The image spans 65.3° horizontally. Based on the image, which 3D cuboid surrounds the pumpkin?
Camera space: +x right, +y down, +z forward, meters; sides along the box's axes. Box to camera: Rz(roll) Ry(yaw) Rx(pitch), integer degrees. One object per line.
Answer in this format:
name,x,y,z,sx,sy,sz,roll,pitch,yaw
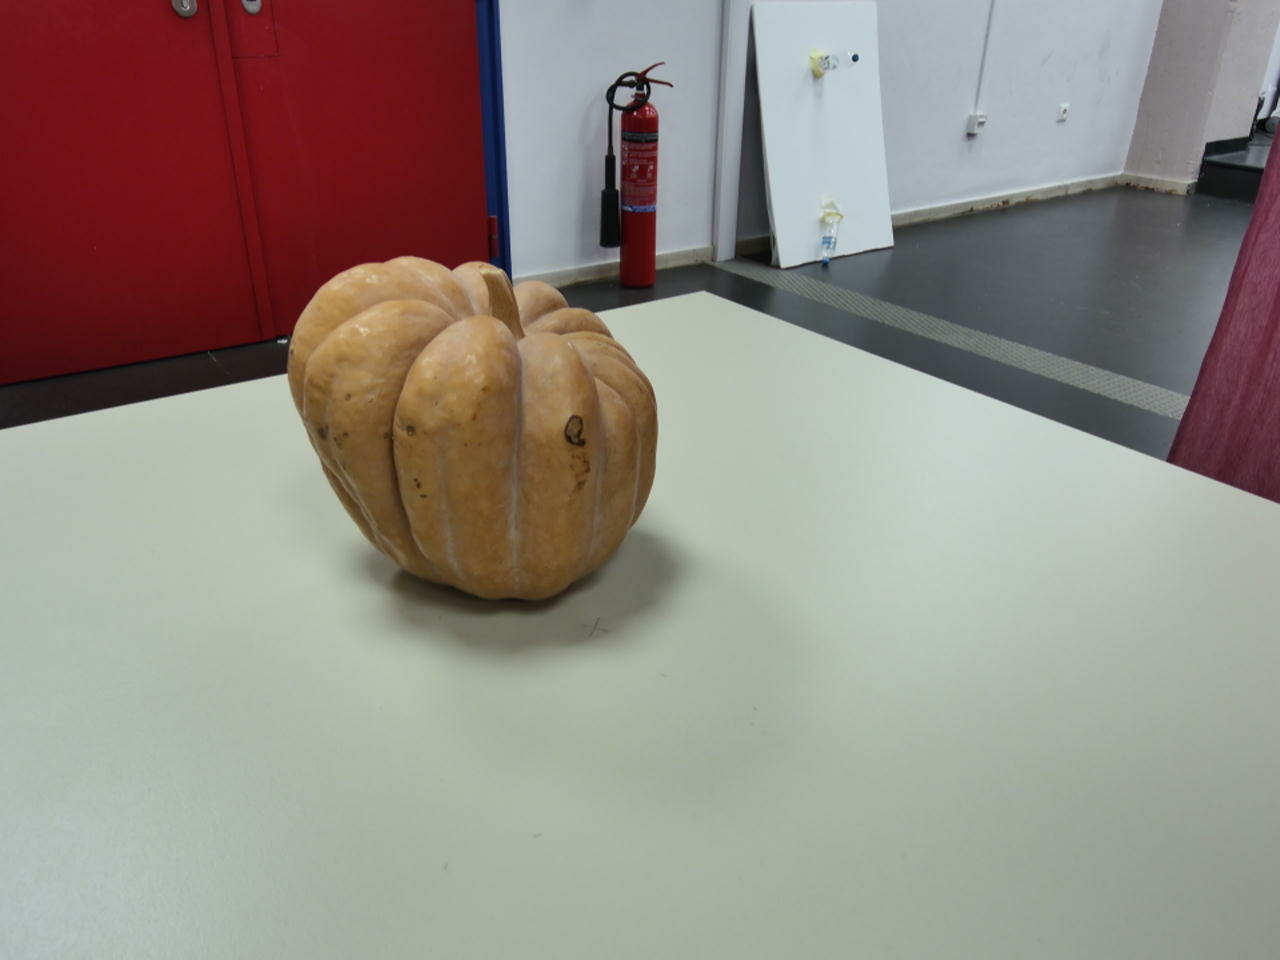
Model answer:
pumpkin,-0.085,-0.029,0.535,0.199,0.177,0.198,1,26,-1
